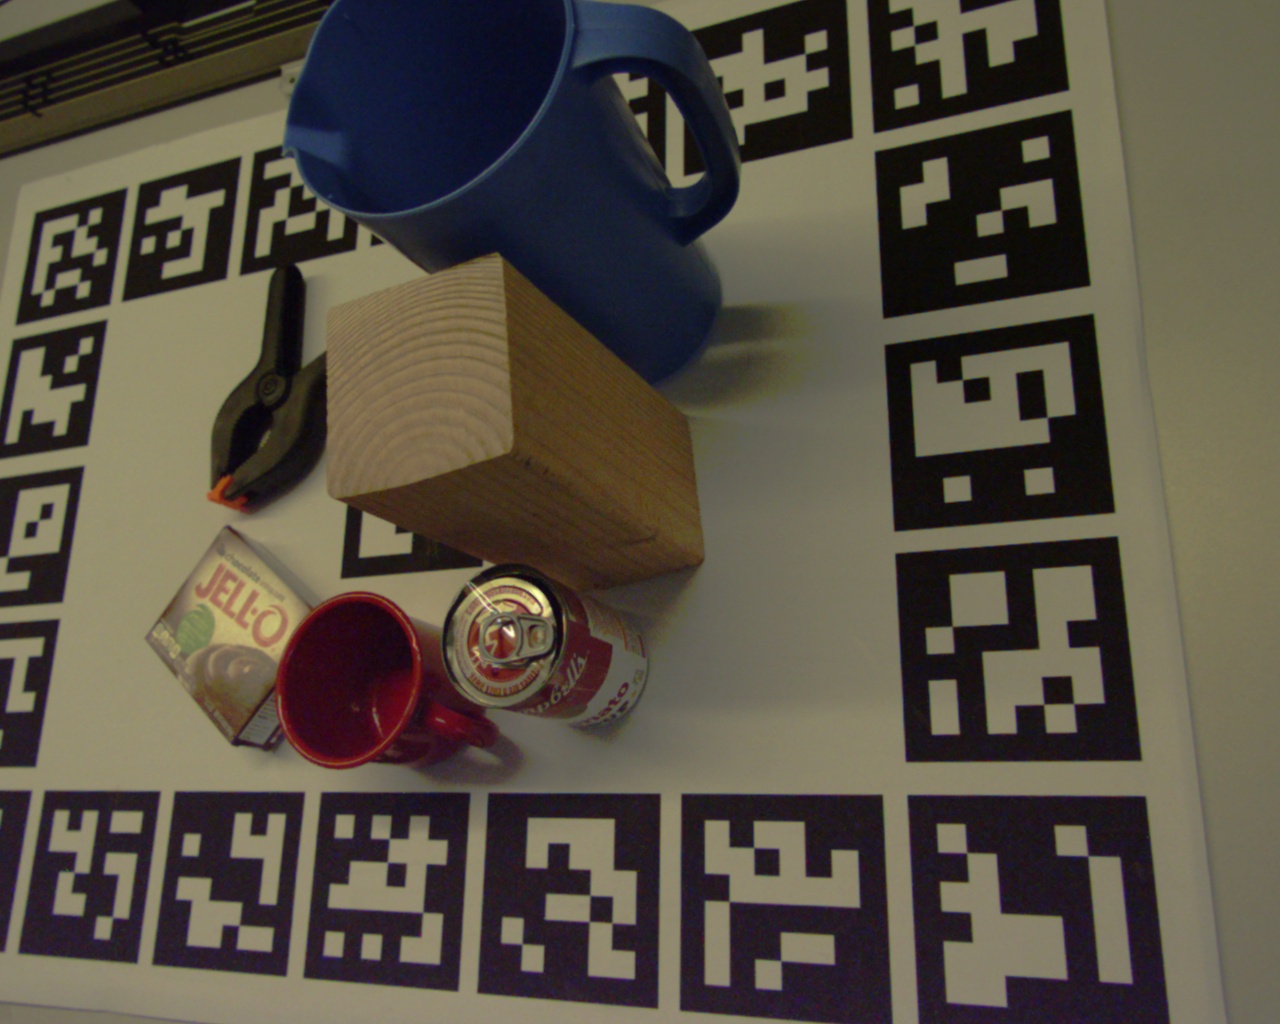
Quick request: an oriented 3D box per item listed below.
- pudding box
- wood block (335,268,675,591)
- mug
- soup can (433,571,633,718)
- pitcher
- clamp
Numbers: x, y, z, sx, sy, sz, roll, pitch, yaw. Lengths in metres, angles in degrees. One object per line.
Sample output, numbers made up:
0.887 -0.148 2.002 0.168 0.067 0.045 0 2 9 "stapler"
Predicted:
-0.255 0.077 0.737 0.115 0.038 0.090 36 94 30 "pudding box"
-0.056 -0.029 0.577 0.090 0.204 0.091 -8 71 18 "wood block"
-0.135 0.104 0.646 0.118 0.080 0.093 34 88 30 "mug"
-0.054 0.073 0.604 0.068 0.101 0.068 -6 75 23 "soup can"
-0.038 -0.152 0.588 0.191 0.239 0.133 -7 70 26 "pitcher"
-0.231 -0.078 0.779 0.123 0.036 0.165 26 87 22 "clamp"
